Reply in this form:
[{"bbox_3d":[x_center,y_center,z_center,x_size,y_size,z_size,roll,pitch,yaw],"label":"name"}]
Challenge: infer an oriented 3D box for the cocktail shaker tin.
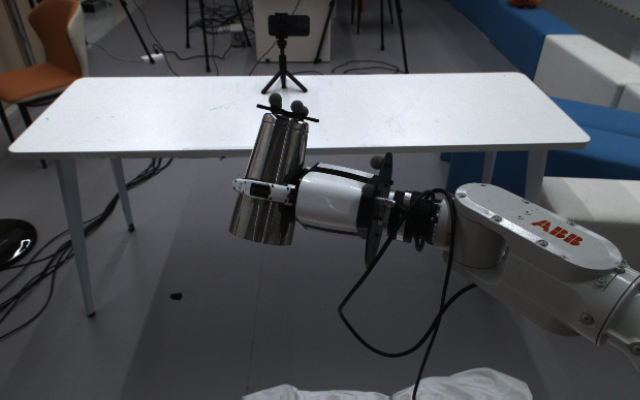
[{"bbox_3d":[-0.065,-0.030,0.681,0.093,0.170,0.093,13,4,-1],"label":"cocktail shaker tin"}]
